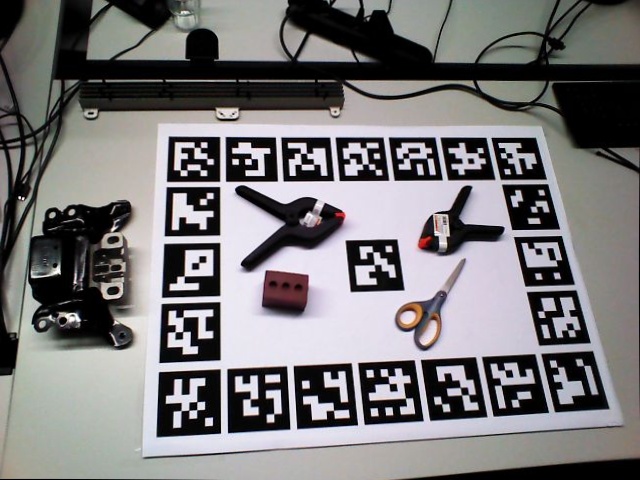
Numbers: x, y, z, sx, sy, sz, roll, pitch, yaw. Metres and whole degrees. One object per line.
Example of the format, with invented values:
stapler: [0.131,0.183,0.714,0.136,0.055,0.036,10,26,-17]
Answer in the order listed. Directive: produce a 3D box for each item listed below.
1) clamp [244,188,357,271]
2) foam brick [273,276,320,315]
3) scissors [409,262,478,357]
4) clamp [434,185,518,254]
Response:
clamp: [-0.032,-0.028,0.955,0.203,0.037,0.164,-5,67,-10]
foam brick: [-0.040,0.097,0.900,0.078,0.051,0.052,5,70,-1]
scissors: [0.238,0.114,0.943,0.088,0.016,0.201,38,68,0]
clamp: [0.291,-0.023,1.000,0.164,0.037,0.122,-28,82,-16]
